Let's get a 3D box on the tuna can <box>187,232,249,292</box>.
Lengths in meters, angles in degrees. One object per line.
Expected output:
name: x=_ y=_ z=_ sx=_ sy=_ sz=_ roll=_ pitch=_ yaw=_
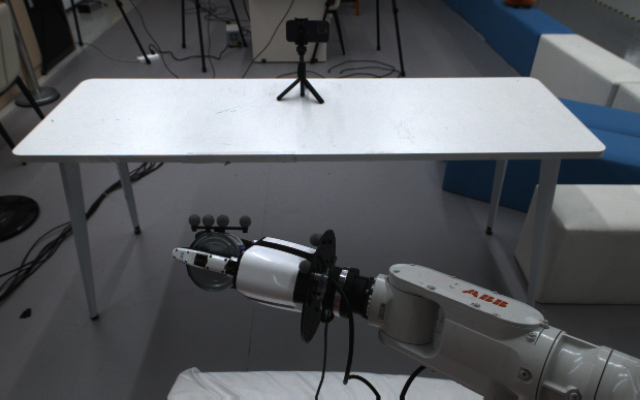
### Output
tuna can: x=-0.147 y=0.090 z=0.705 sx=0.085 sy=0.085 sz=0.034 roll=11 pitch=-1 yaw=13
